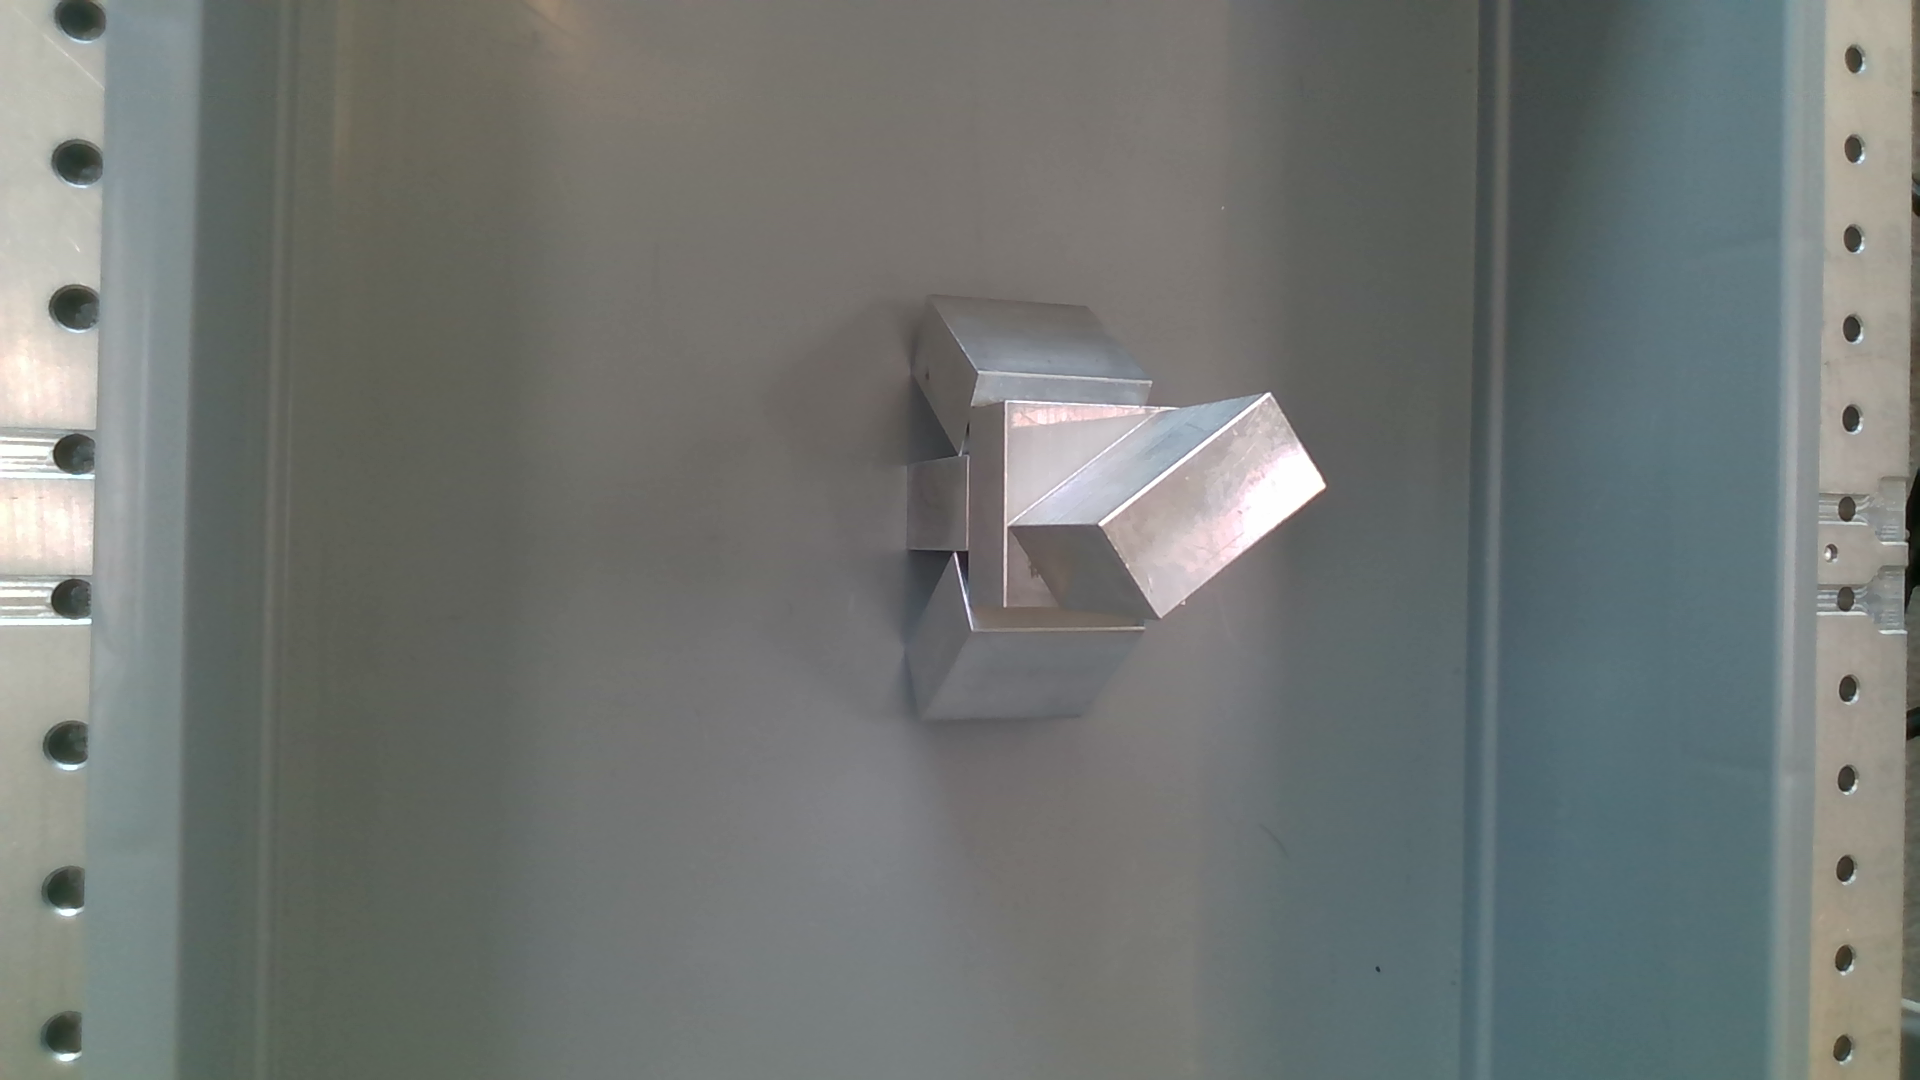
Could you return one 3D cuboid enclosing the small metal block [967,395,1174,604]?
[{"bbox_3d":[0.030,-0.009,0.350,0.050,0.025,0.050,1,90,-21],"label":"small metal block"}]

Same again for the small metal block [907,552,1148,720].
[{"bbox_3d":[0.017,0.027,0.383,0.050,0.050,0.025,1,56,-20],"label":"small metal block"}]

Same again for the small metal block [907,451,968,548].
[{"bbox_3d":[0.017,-0.010,0.385,0.050,0.050,0.025,1,90,-20],"label":"small metal block"}]

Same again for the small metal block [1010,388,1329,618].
[{"bbox_3d":[0.046,-0.008,0.316,0.050,0.050,0.025,-37,101,-17],"label":"small metal block"}]

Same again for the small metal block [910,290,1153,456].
[{"bbox_3d":[0.018,-0.046,0.383,0.050,0.050,0.025,1,123,-20],"label":"small metal block"}]
